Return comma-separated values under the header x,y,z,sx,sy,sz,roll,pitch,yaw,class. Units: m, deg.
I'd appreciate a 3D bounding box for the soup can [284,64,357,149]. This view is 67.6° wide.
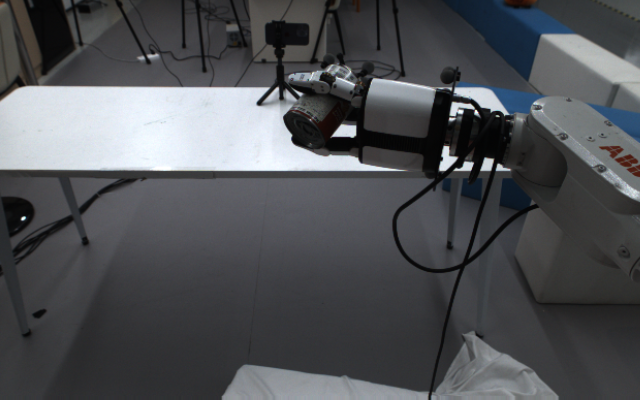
x,y,z,sx,sy,sz,roll,pitch,yaw,class
0.007,-0.129,0.662,0.067,0.067,0.101,26,66,30,soup can
